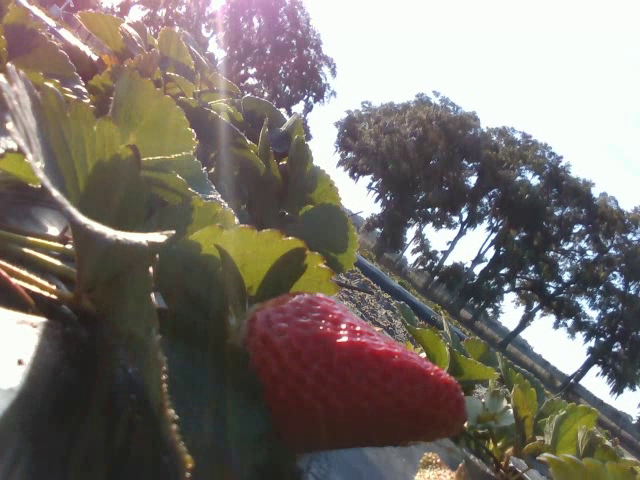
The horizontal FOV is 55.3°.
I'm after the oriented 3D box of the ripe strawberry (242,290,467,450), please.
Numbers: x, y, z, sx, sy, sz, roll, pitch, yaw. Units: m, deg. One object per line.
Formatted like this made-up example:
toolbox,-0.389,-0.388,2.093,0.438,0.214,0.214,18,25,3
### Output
ripe strawberry,0.009,0.037,0.160,0.072,0.055,0.057,16,41,20
